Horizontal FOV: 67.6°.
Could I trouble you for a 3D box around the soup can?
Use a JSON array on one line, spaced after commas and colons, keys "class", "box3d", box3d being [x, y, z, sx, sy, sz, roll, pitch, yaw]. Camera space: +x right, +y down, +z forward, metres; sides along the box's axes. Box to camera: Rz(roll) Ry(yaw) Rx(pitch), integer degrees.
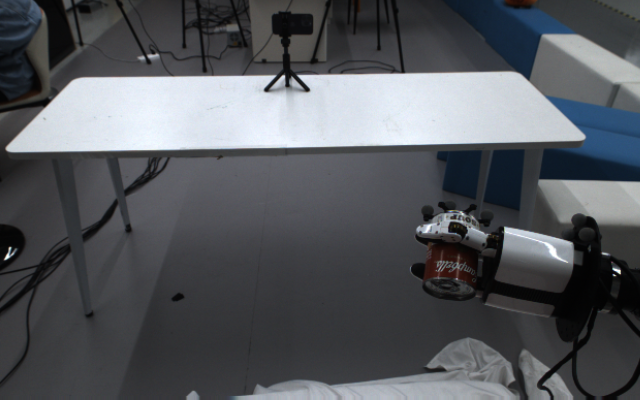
[{"class": "soup can", "box3d": [0.176, 0.072, 0.639, 0.067, 0.067, 0.101, 9, 58, 10]}]
